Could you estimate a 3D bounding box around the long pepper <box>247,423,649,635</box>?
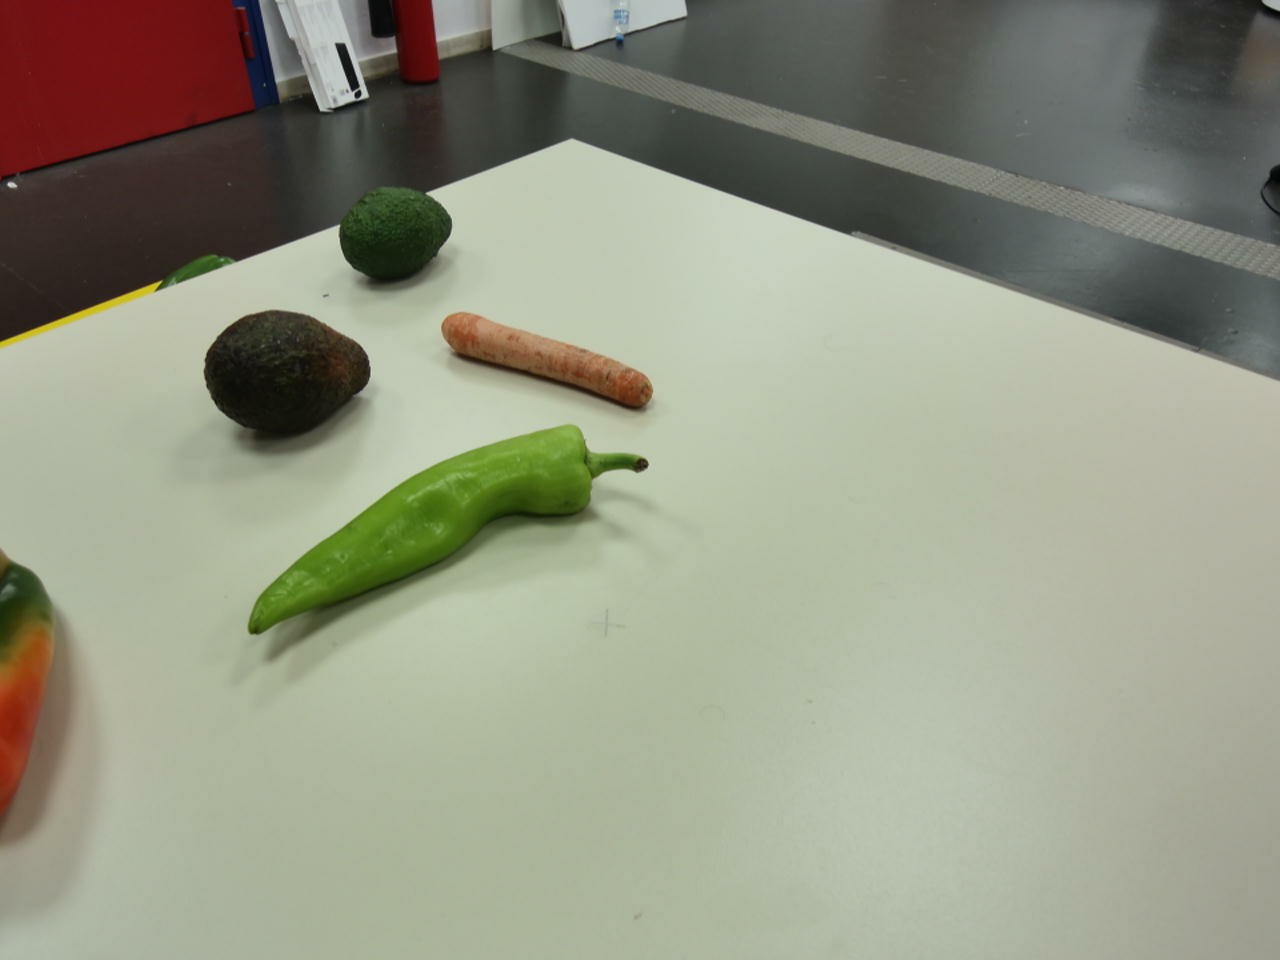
[{"bbox_3d":[-0.097,0.017,0.490,0.204,0.045,0.065,-21,42,-27],"label":"long pepper"}]
